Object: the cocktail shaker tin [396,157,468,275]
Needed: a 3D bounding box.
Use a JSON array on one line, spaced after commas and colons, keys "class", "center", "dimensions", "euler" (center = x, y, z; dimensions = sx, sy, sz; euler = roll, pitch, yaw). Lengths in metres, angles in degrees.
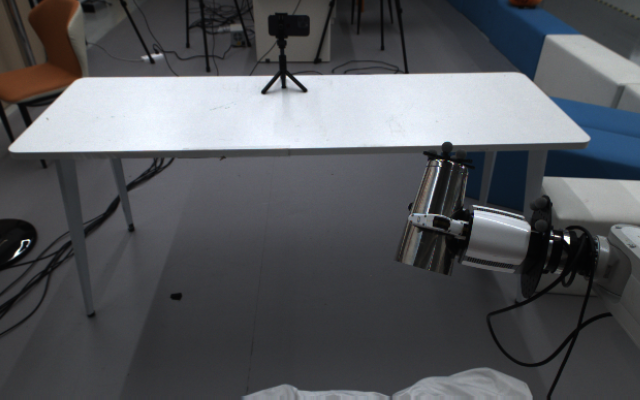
[{"class": "cocktail shaker tin", "center": [0.184, 0.025, 0.771], "dimensions": [0.093, 0.170, 0.093], "euler": [15, -4, 1]}]
